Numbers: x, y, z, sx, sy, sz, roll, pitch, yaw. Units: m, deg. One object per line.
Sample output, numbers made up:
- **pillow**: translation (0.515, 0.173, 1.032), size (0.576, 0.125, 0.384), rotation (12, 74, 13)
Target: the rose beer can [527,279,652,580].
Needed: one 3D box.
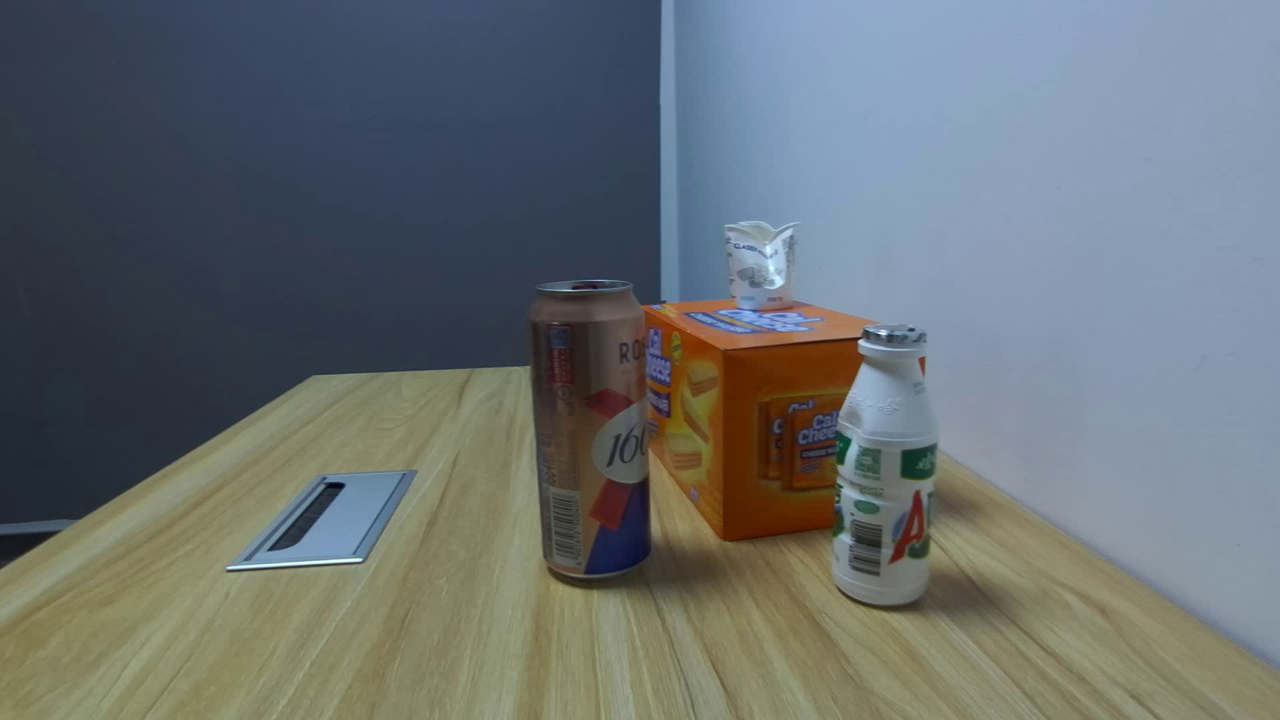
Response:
- **rose beer can**: translation (-0.028, 0.043, 0.418), size (0.068, 0.169, 0.068), rotation (-3, 10, 1)

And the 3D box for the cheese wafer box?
- **cheese wafer box**: translation (0.103, 0.029, 0.554), size (0.148, 0.129, 0.221), rotation (-6, 12, -9)

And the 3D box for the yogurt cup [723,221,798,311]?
- **yogurt cup**: translation (0.105, -0.082, 0.608), size (0.054, 0.072, 0.055), rotation (6, 15, 32)

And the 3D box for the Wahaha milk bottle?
- **Wahaha milk bottle**: translation (0.130, 0.060, 0.378), size (0.053, 0.136, 0.053), rotation (-2, 14, 1)
